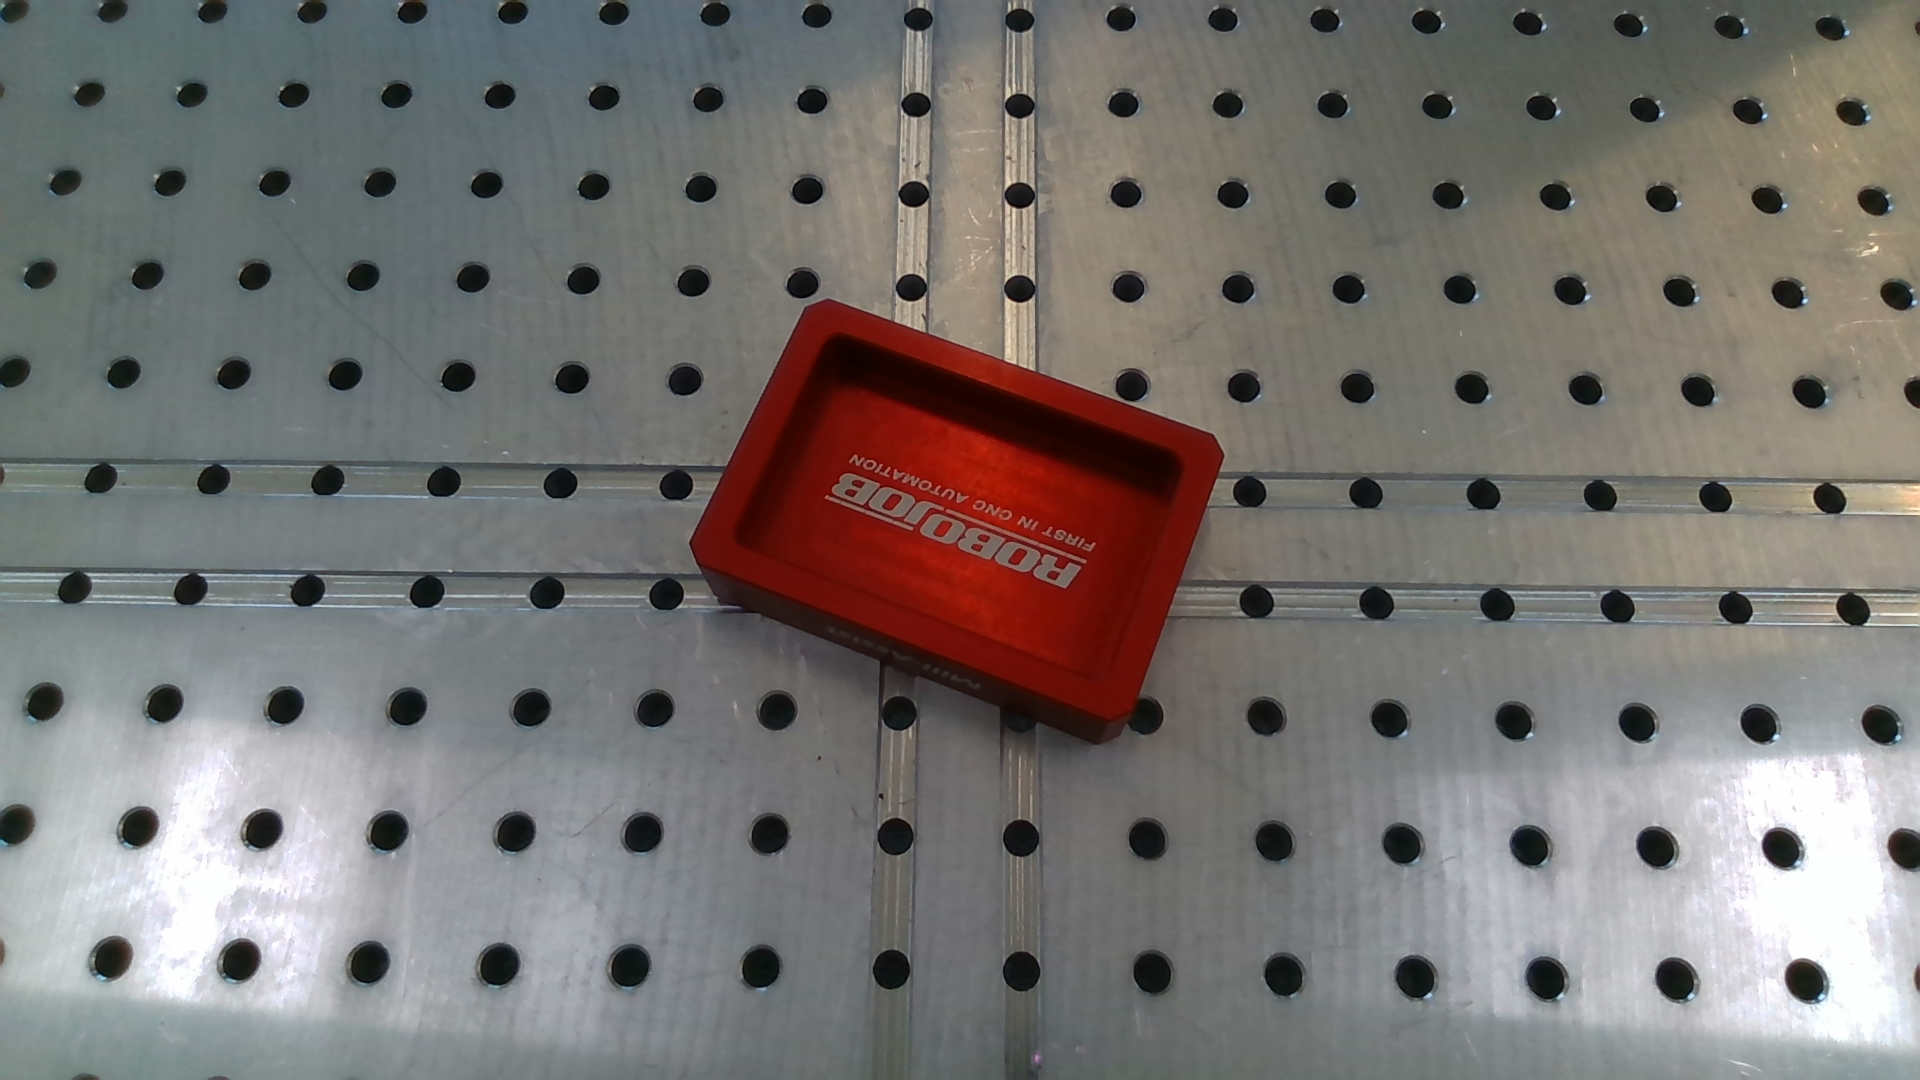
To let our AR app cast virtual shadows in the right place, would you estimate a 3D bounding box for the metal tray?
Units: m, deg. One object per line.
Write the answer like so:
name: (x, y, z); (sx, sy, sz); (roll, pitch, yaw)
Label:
metal tray: (-0.001, -0.007, 0.397); (0.130, 0.030, 0.090); (20, 72, 7)
